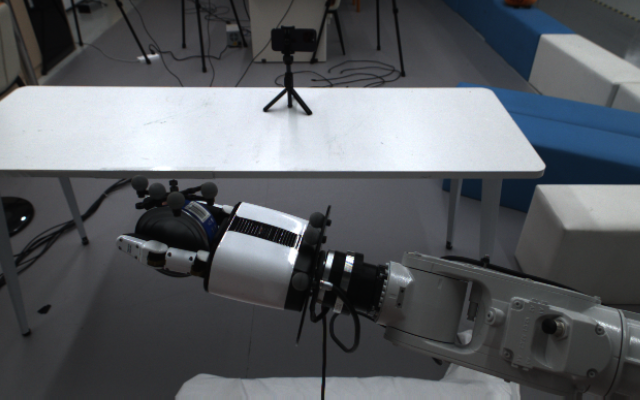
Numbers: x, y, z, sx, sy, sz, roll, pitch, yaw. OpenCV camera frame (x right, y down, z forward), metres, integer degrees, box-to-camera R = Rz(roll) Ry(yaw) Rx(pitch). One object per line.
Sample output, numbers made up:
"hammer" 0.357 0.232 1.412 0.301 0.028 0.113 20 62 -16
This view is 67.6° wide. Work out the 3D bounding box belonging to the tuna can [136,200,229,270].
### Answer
"tuna can" -0.154 0.040 0.534 0.085 0.085 0.034 9 22 9
